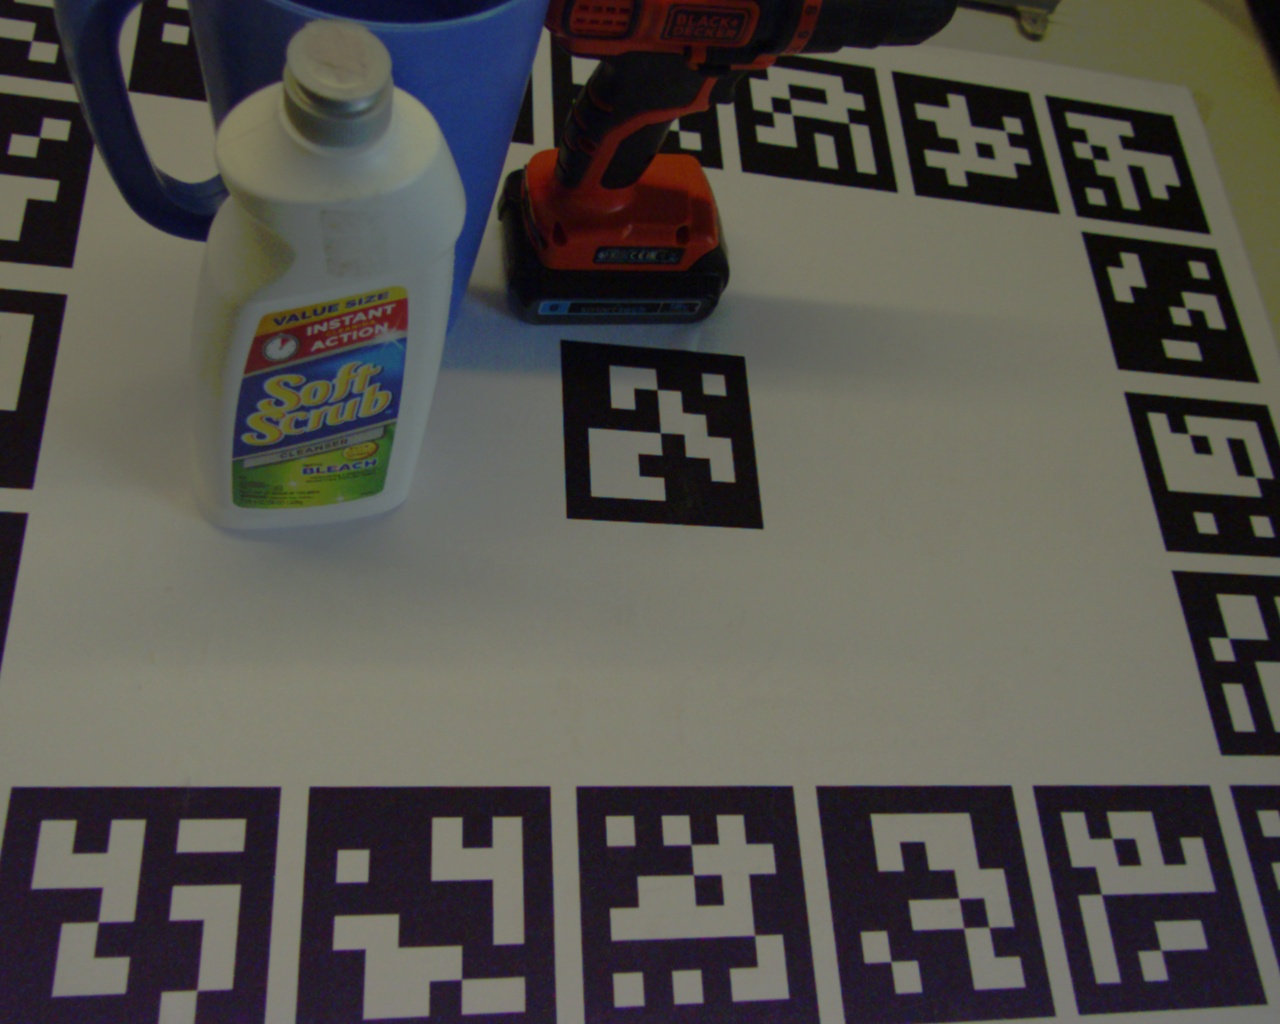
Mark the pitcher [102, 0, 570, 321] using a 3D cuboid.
[{"bbox_3d":[-0.122,-0.167,0.494,0.187,0.243,0.134,-23,77,-23],"label":"pitcher"}]

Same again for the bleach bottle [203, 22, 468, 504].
[{"bbox_3d":[-0.123,-0.081,0.433,0.102,0.251,0.068,-4,69,-17],"label":"bleach bottle"}]

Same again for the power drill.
[{"bbox_3d":[0.037,-0.170,0.548,0.183,0.188,0.057,0,70,-21],"label":"power drill"}]
